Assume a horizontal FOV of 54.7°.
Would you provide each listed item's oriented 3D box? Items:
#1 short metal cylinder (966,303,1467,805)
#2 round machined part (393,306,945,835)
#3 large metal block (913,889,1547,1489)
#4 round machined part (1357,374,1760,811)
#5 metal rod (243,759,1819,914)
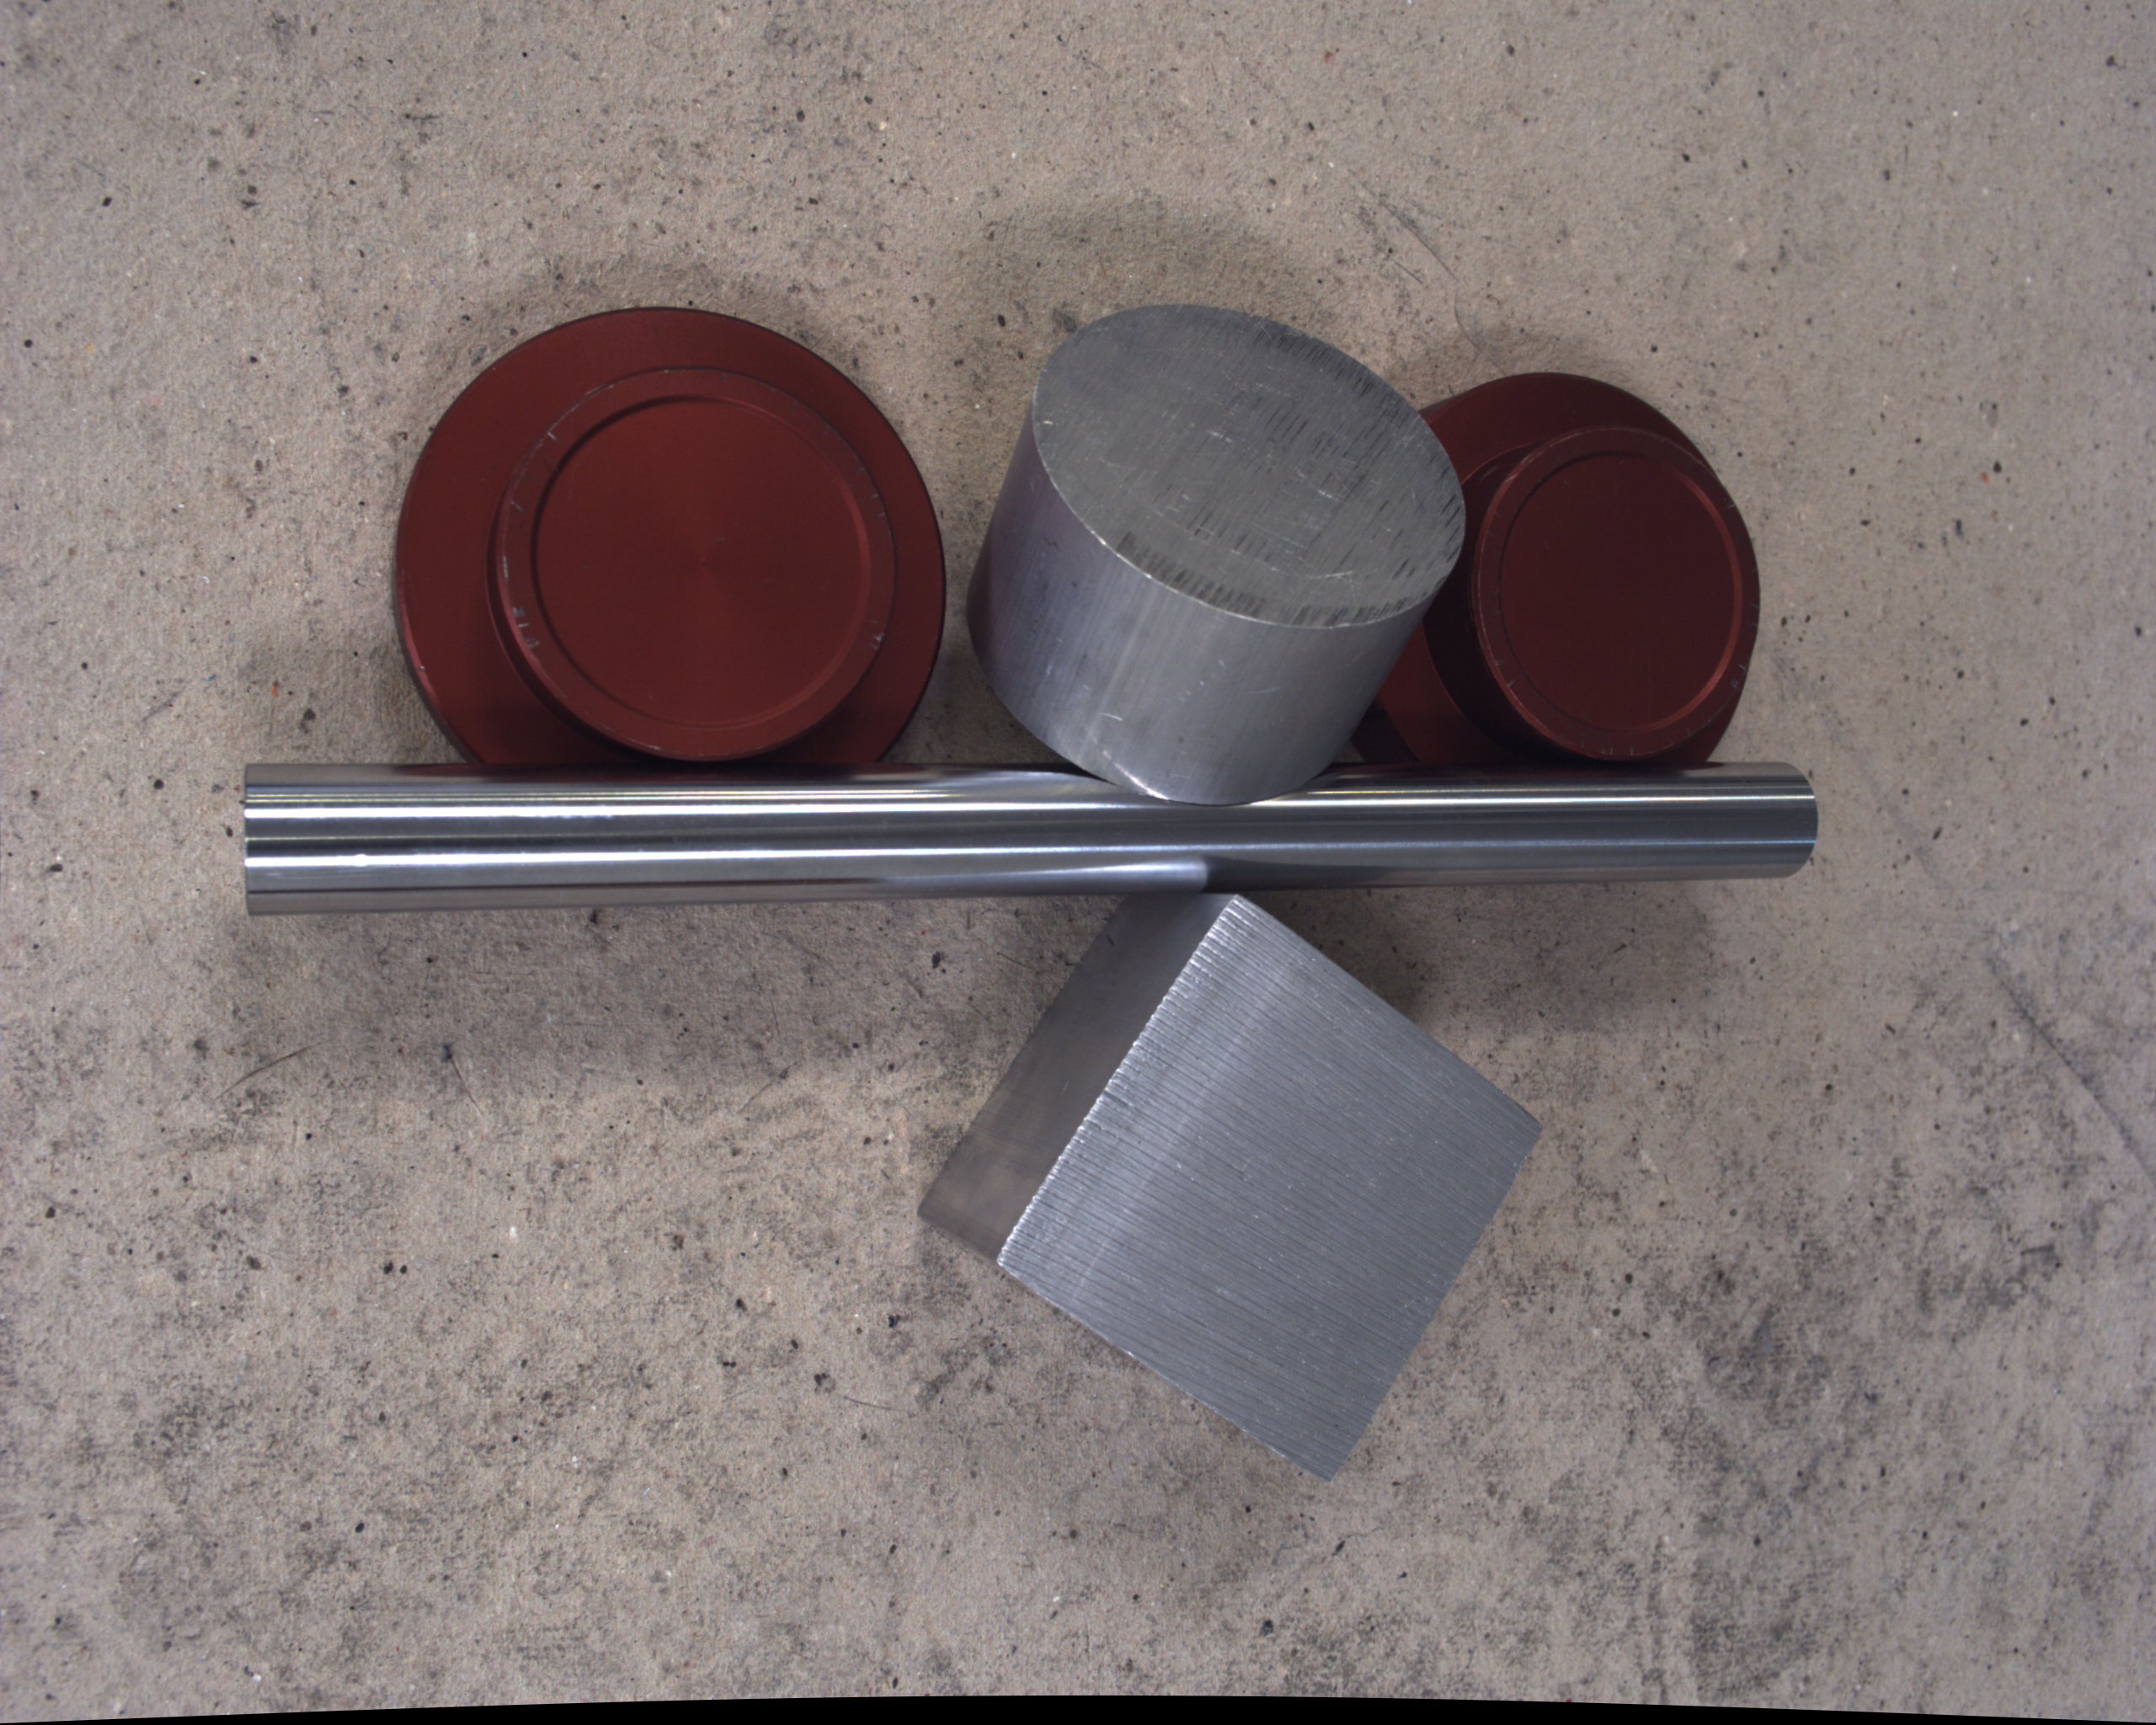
[{"bbox_3d":[0.024,-0.057,0.386,0.081,0.050,0.080,10,52,-13],"label":"short metal cylinder"},{"bbox_3d":[-0.071,-0.051,0.374,0.099,0.042,0.097,0,90,-20],"label":"round machined part"},{"bbox_3d":[0.029,0.060,0.406,0.080,0.050,0.080,37,78,-17],"label":"large metal block"},{"bbox_3d":[0.102,-0.054,0.439,0.099,0.042,0.097,0,90,-20],"label":"round machined part"},{"bbox_3d":[0.007,-0.007,0.390,0.303,0.025,0.025,-1,91,-20],"label":"metal rod"}]
